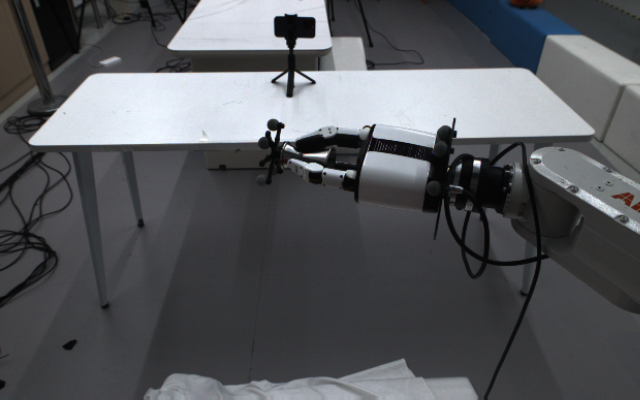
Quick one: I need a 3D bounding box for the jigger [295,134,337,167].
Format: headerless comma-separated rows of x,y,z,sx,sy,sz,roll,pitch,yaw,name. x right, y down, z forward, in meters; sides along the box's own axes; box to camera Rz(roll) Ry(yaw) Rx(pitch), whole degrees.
-0.010,-0.059,0.670,0.071,0.043,0.043,11,36,15,jigger
